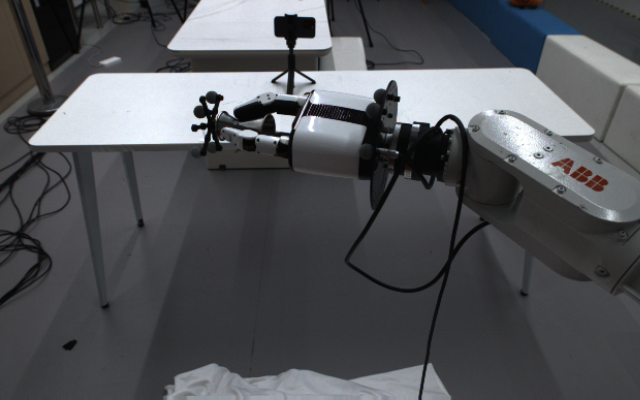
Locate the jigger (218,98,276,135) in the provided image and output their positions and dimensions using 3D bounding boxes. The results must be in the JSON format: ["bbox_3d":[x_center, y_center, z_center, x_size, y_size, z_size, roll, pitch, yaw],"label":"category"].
[{"bbox_3d":[-0.096,-0.098,0.638,0.071,0.043,0.043,8,35,16],"label":"jigger"}]
